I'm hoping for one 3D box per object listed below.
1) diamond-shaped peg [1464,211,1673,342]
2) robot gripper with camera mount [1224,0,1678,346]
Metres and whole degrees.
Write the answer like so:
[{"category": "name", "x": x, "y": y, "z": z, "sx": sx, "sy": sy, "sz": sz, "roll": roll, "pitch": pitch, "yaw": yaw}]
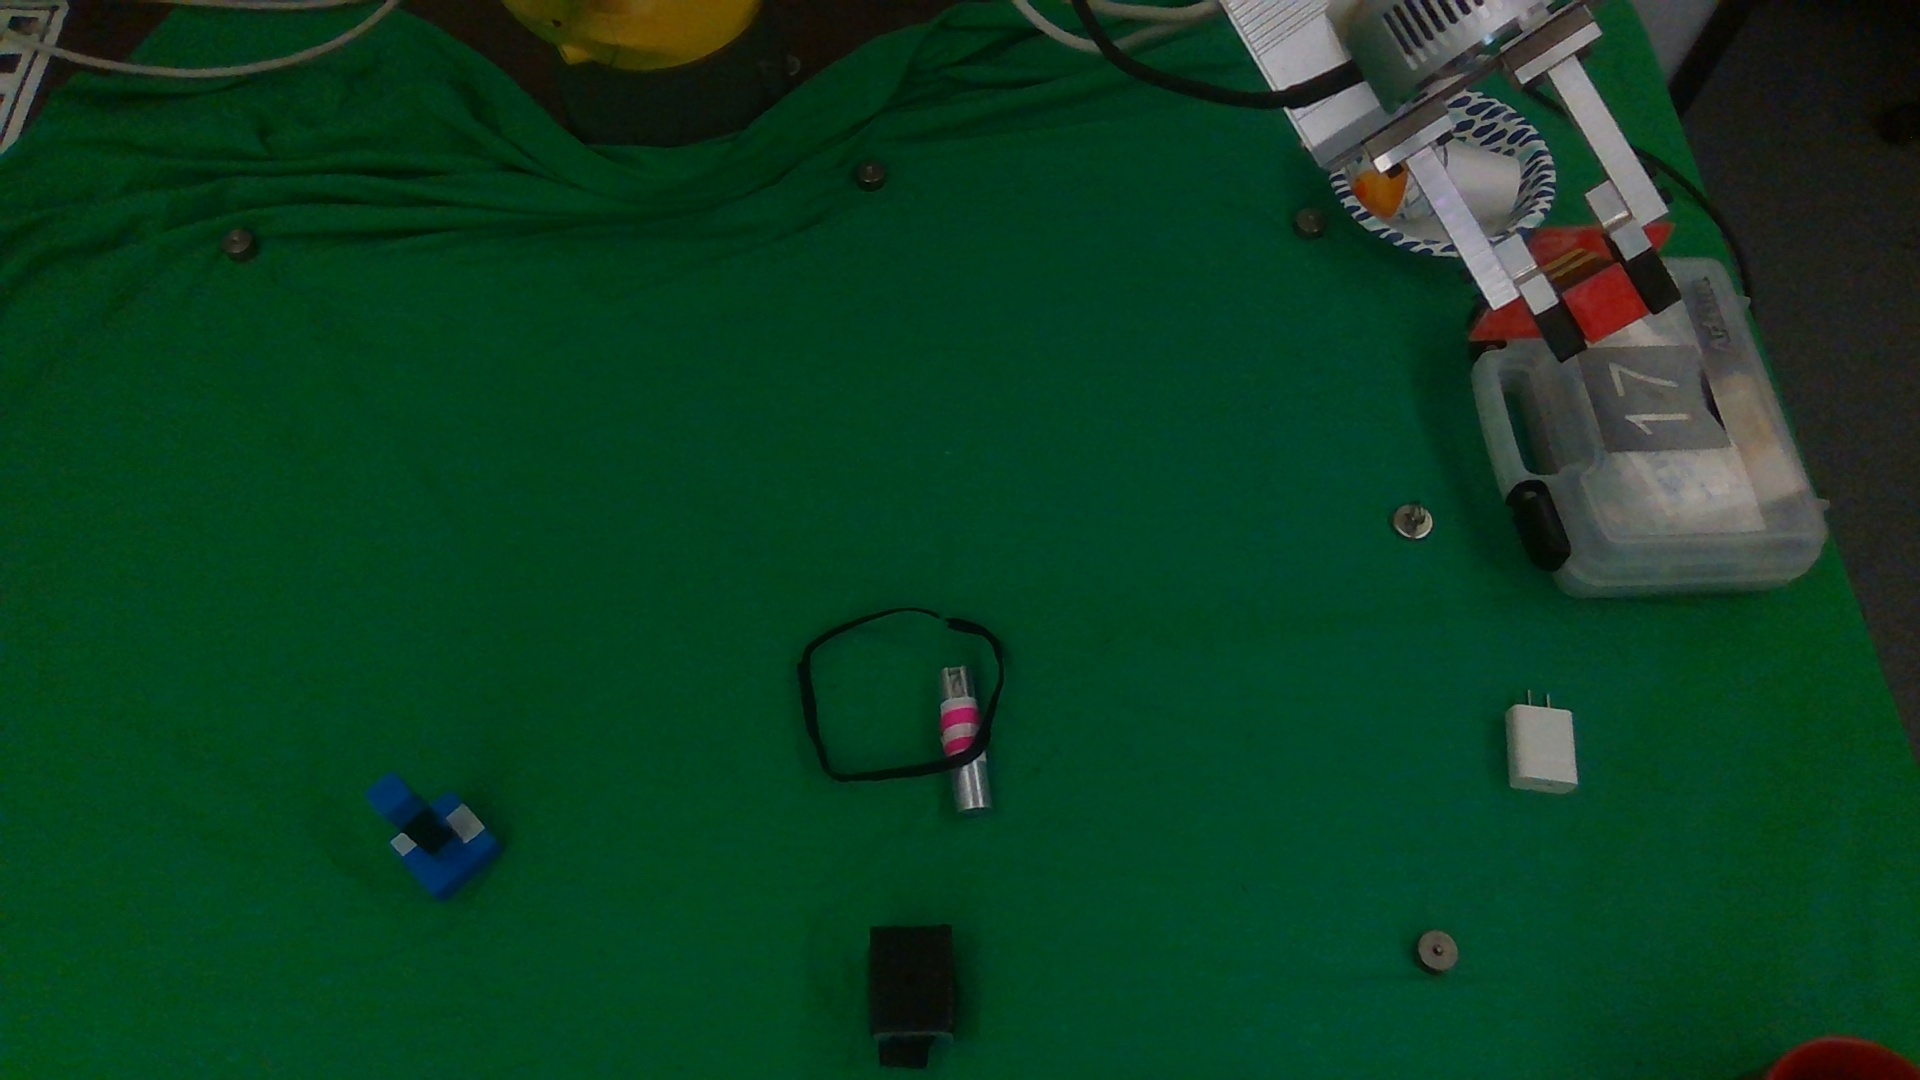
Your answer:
[{"category": "diamond-shaped peg", "x": 0.230, "y": -0.095, "z": 0.513, "sx": 0.045, "sy": 0.074, "sz": 0.121, "roll": 30, "pitch": 22, "yaw": 7}, {"category": "robot gripper with camera mount", "x": 0.169, "y": -0.132, "z": 0.397, "sx": 0.119, "sy": 0.193, "sz": 0.158, "roll": -32, "pitch": 94, "yaw": 15}]
